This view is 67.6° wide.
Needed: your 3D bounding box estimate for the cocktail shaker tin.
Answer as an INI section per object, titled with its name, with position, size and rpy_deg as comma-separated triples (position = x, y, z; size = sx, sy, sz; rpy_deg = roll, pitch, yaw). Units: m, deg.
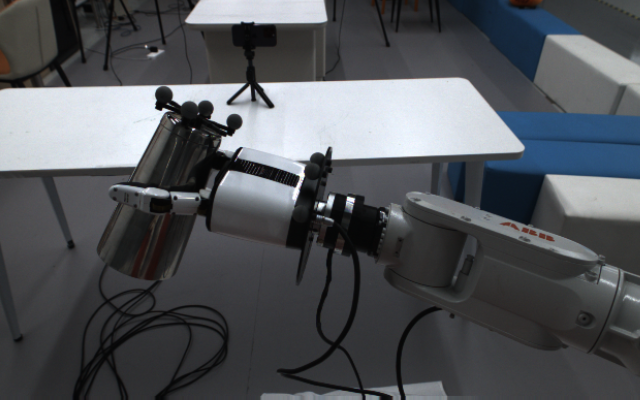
[cocktail shaker tin]
position = -0.170, -0.008, 0.539
size = 0.093, 0.170, 0.093
rpy_deg = 24, 12, -6
